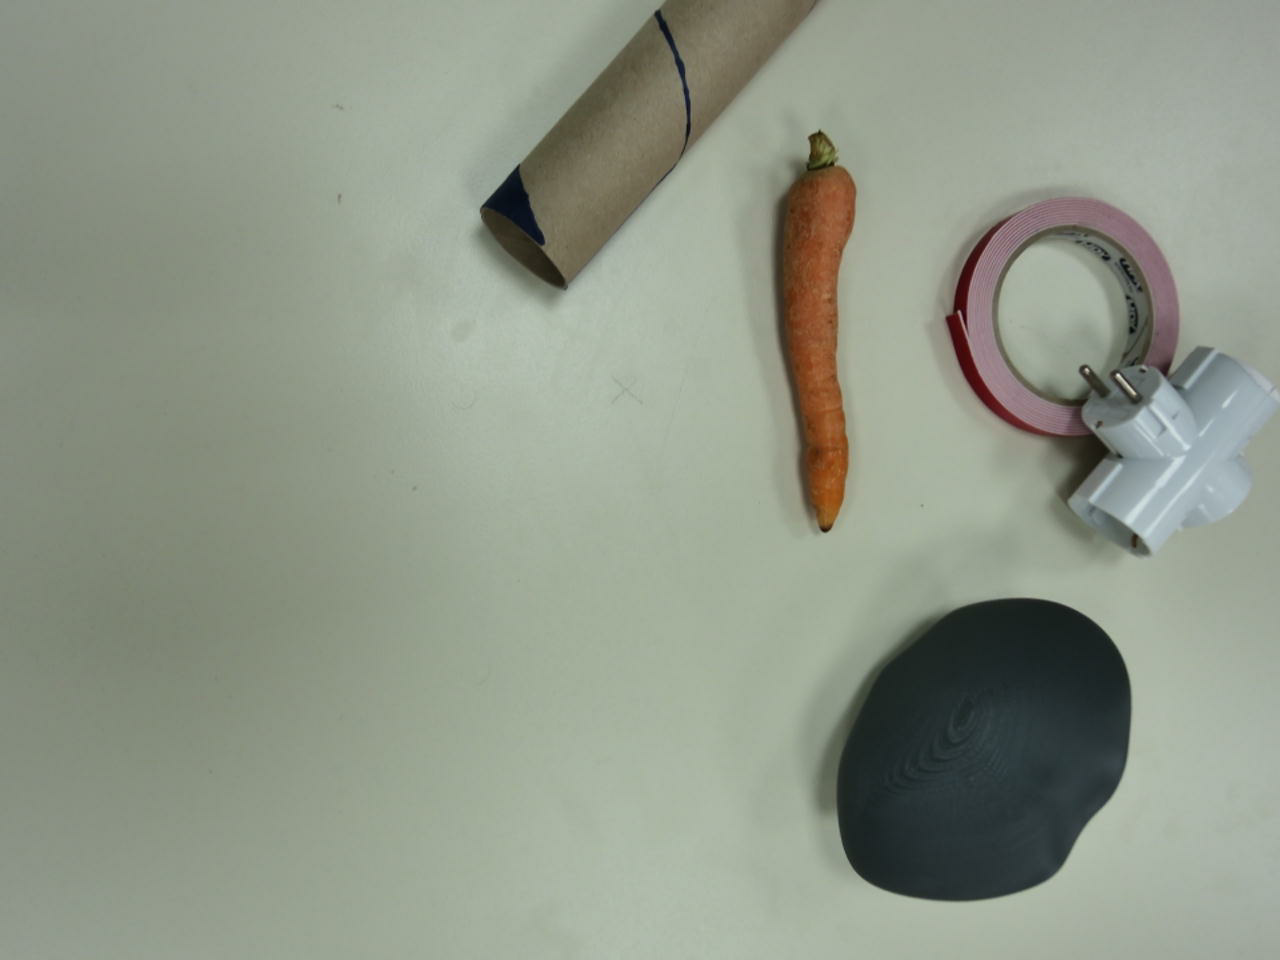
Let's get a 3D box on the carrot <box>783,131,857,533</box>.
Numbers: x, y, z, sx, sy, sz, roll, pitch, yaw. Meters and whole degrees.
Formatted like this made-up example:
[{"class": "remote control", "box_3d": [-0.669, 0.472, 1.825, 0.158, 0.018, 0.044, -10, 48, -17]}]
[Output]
[{"class": "carrot", "box_3d": [0.078, -0.063, 0.437, 0.030, 0.032, 0.173, -1, 91, -12]}]
